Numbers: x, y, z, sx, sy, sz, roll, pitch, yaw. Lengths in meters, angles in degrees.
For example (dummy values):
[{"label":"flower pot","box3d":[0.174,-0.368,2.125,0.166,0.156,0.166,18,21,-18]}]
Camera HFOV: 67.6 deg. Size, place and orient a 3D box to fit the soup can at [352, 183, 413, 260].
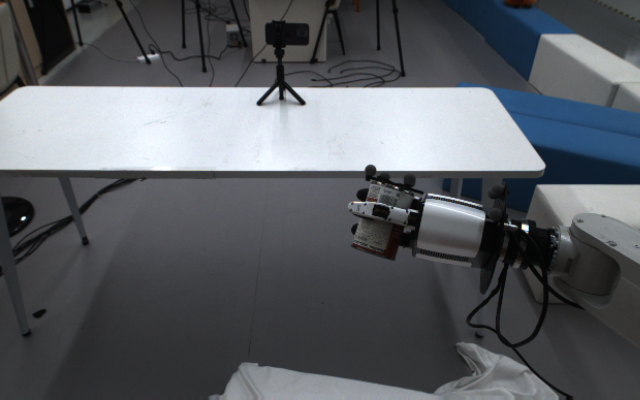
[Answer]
[{"label":"soup can","box3d":[0.093,0.030,0.711,0.067,0.101,0.067,17,-1,0]}]
